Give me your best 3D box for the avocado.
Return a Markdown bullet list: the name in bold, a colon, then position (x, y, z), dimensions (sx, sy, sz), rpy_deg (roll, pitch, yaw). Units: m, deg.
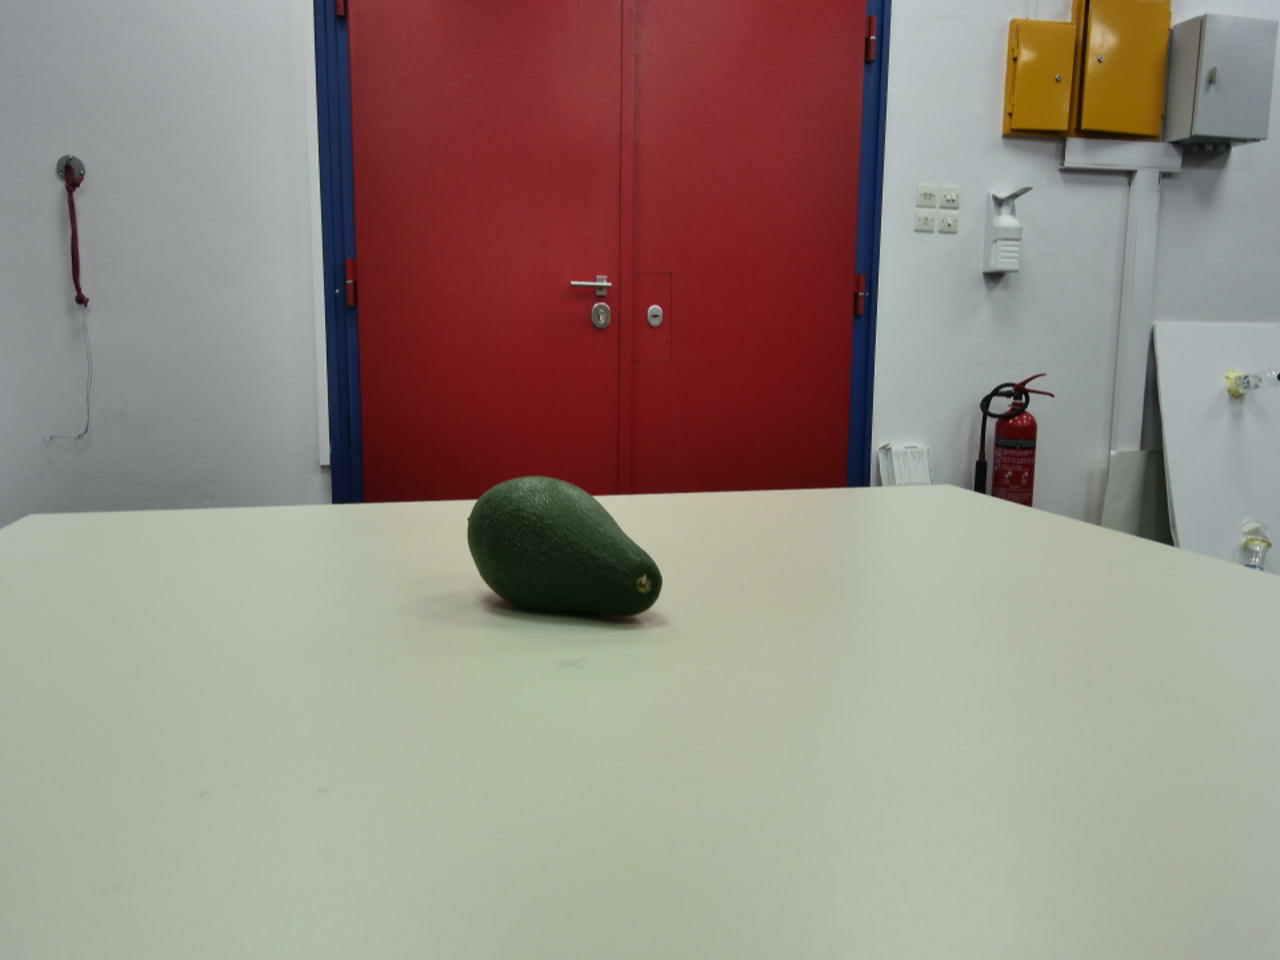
- **avocado**: position (-0.044, 0.034, 0.523), dimensions (0.072, 0.071, 0.110), rpy_deg (-4, 8, -36)
